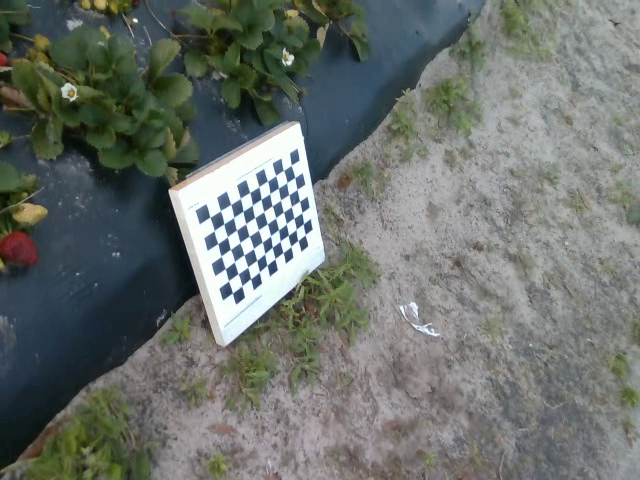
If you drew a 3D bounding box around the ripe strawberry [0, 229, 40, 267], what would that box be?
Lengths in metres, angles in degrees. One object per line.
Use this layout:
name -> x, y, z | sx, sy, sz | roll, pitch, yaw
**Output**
ripe strawberry -> -0.363, 0.016, 0.765 | 0.059, 0.046, 0.046 | 29, 49, 21
